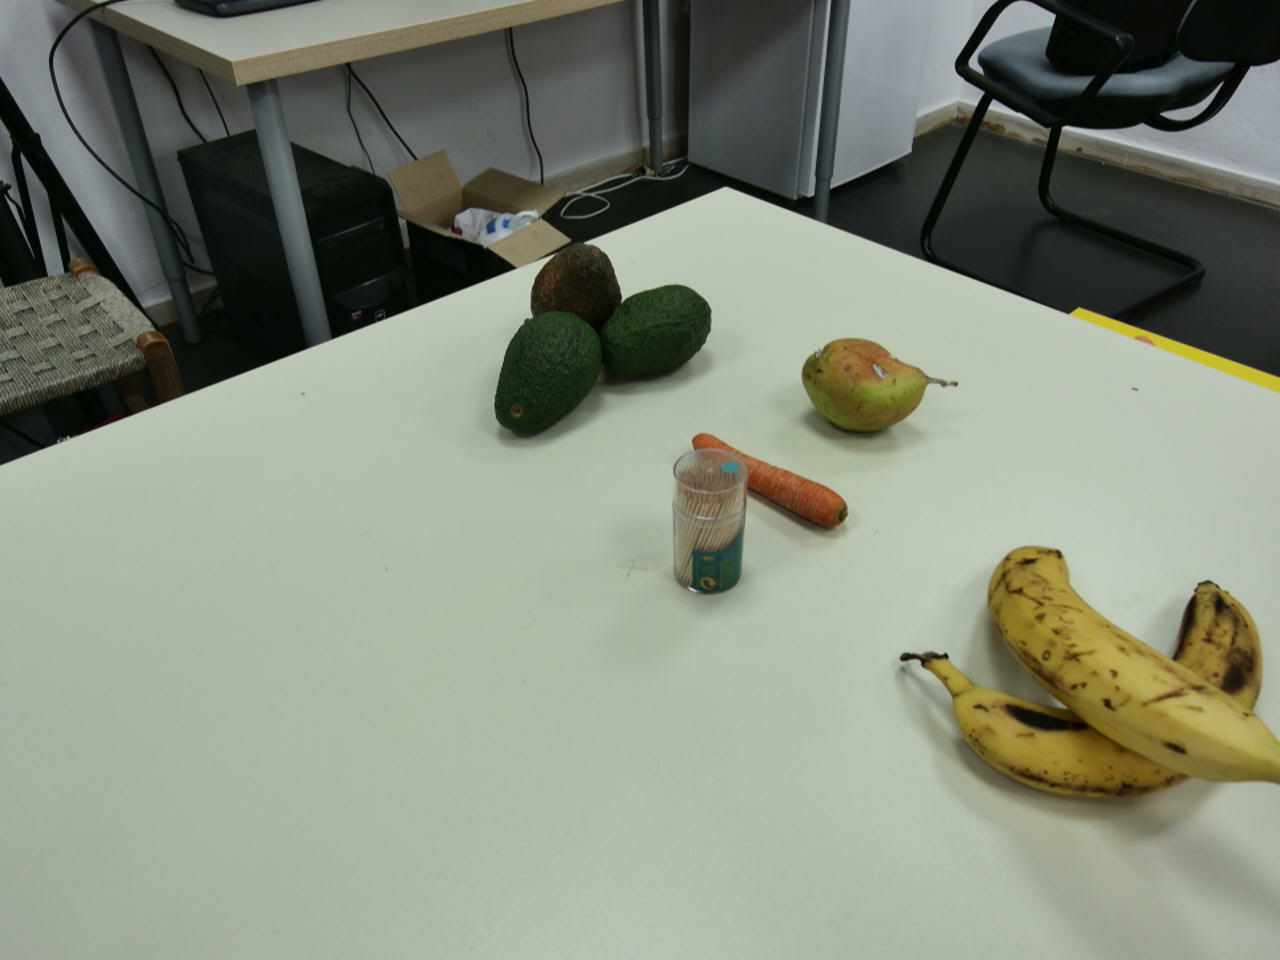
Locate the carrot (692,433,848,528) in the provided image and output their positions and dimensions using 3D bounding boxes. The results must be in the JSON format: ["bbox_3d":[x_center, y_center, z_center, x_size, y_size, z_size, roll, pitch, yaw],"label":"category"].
[{"bbox_3d":[0.079,-0.002,0.631,0.024,0.023,0.122,-30,46,-34],"label":"carrot"}]
